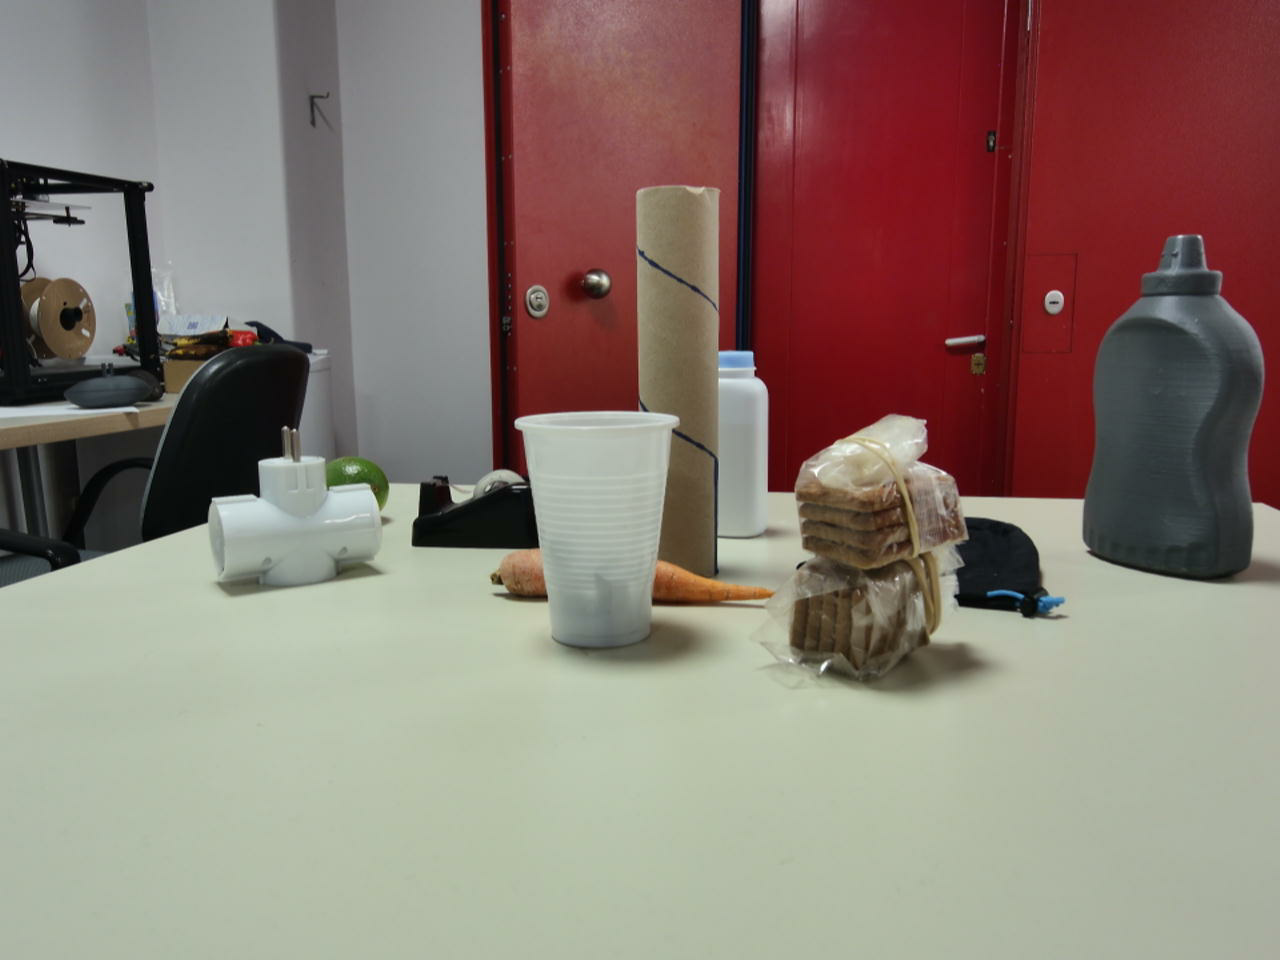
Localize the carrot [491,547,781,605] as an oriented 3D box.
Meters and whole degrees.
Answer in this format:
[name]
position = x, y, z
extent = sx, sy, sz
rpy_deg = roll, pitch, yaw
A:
[carrot]
position = -0.004, 0.053, 0.552
extent = 0.163, 0.029, 0.031
rpy_deg = 1, 7, 11
